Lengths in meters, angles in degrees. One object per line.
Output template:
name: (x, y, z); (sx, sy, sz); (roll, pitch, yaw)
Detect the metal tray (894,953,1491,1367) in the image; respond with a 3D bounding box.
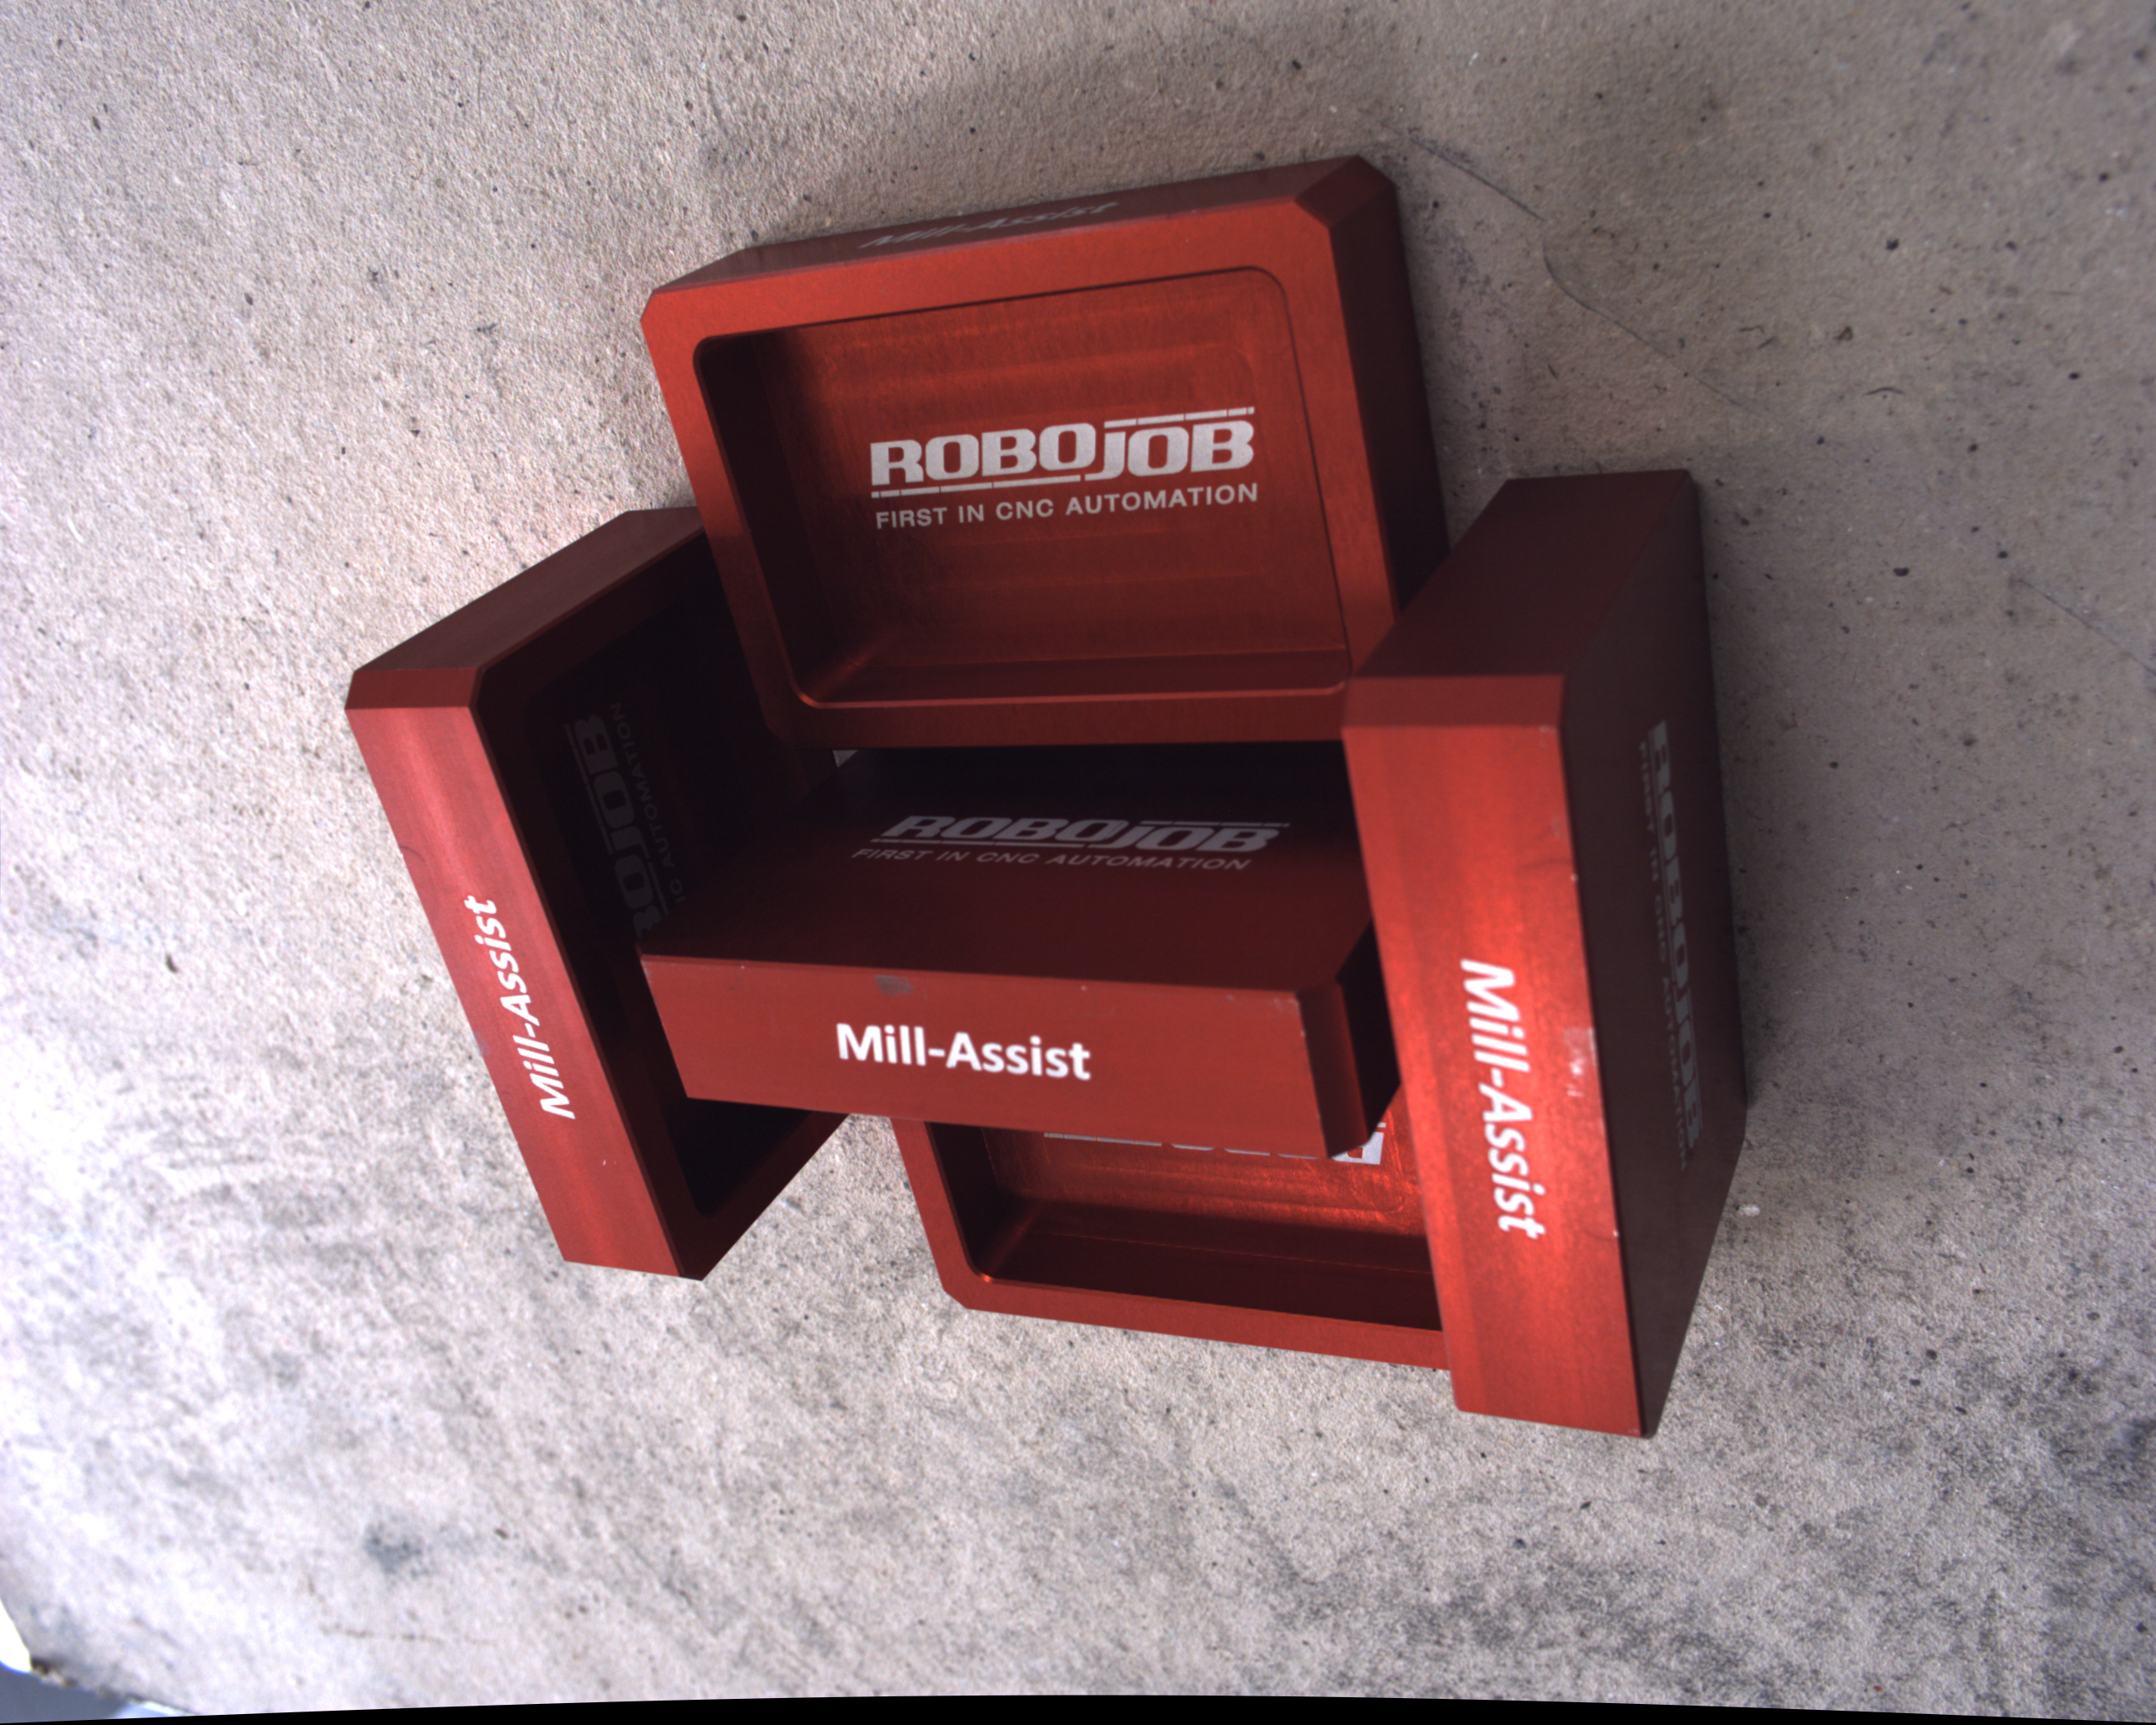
metal tray: (0.025, 0.053, 0.426); (0.130, 0.030, 0.089); (1, 118, 27)

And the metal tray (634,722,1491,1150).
metal tray: (0.000, 0.008, 0.373); (0.130, 0.090, 0.030); (1, 120, 27)

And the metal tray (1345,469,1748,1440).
metal tray: (0.080, 0.013, 0.332); (0.030, 0.090, 0.129); (1, 119, 28)

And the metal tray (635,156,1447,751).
metal tray: (-0.005, -0.067, 0.367); (0.130, 0.030, 0.089); (0, 122, 28)

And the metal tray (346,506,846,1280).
metal tray: (-0.082, 0.005, 0.413); (0.030, 0.090, 0.129); (1, 119, 27)
